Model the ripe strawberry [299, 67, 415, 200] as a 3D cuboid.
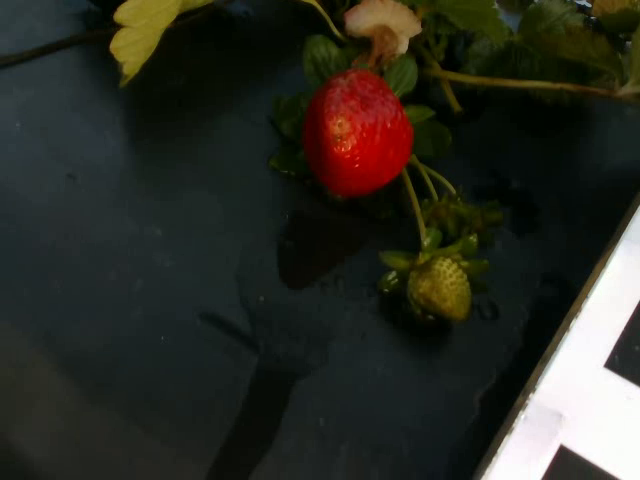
[{"bbox_3d":[0.012,-0.036,0.216,0.043,0.052,0.057,4,6,14],"label":"ripe strawberry"}]
